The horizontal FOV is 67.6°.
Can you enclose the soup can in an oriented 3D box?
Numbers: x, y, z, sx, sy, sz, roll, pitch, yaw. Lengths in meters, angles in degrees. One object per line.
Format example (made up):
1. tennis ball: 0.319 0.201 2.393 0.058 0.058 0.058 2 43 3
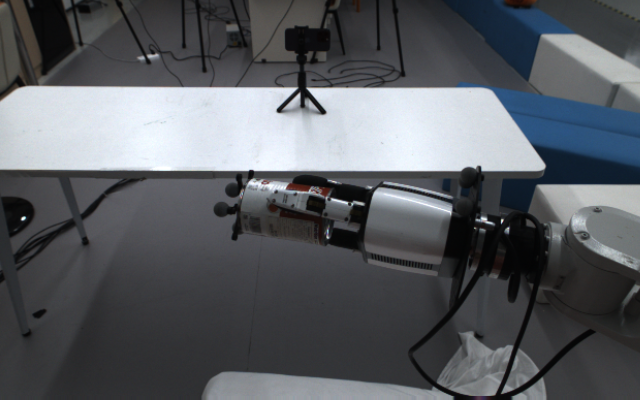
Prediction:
1. soup can: -0.034 0.013 0.563 0.101 0.067 0.067 7 35 11
